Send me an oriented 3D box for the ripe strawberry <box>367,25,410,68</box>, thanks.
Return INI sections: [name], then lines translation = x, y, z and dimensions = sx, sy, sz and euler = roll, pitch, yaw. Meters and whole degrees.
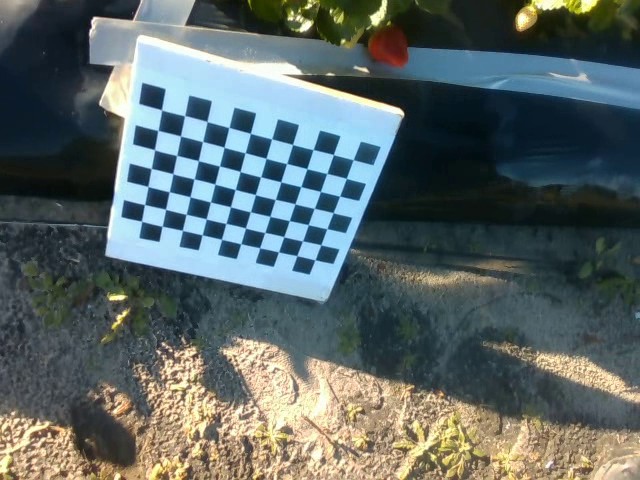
[ripe strawberry]
translation = 0.076, -0.208, 0.676
dimensions = 0.045, 0.064, 0.048
euler = -43, -36, 24
